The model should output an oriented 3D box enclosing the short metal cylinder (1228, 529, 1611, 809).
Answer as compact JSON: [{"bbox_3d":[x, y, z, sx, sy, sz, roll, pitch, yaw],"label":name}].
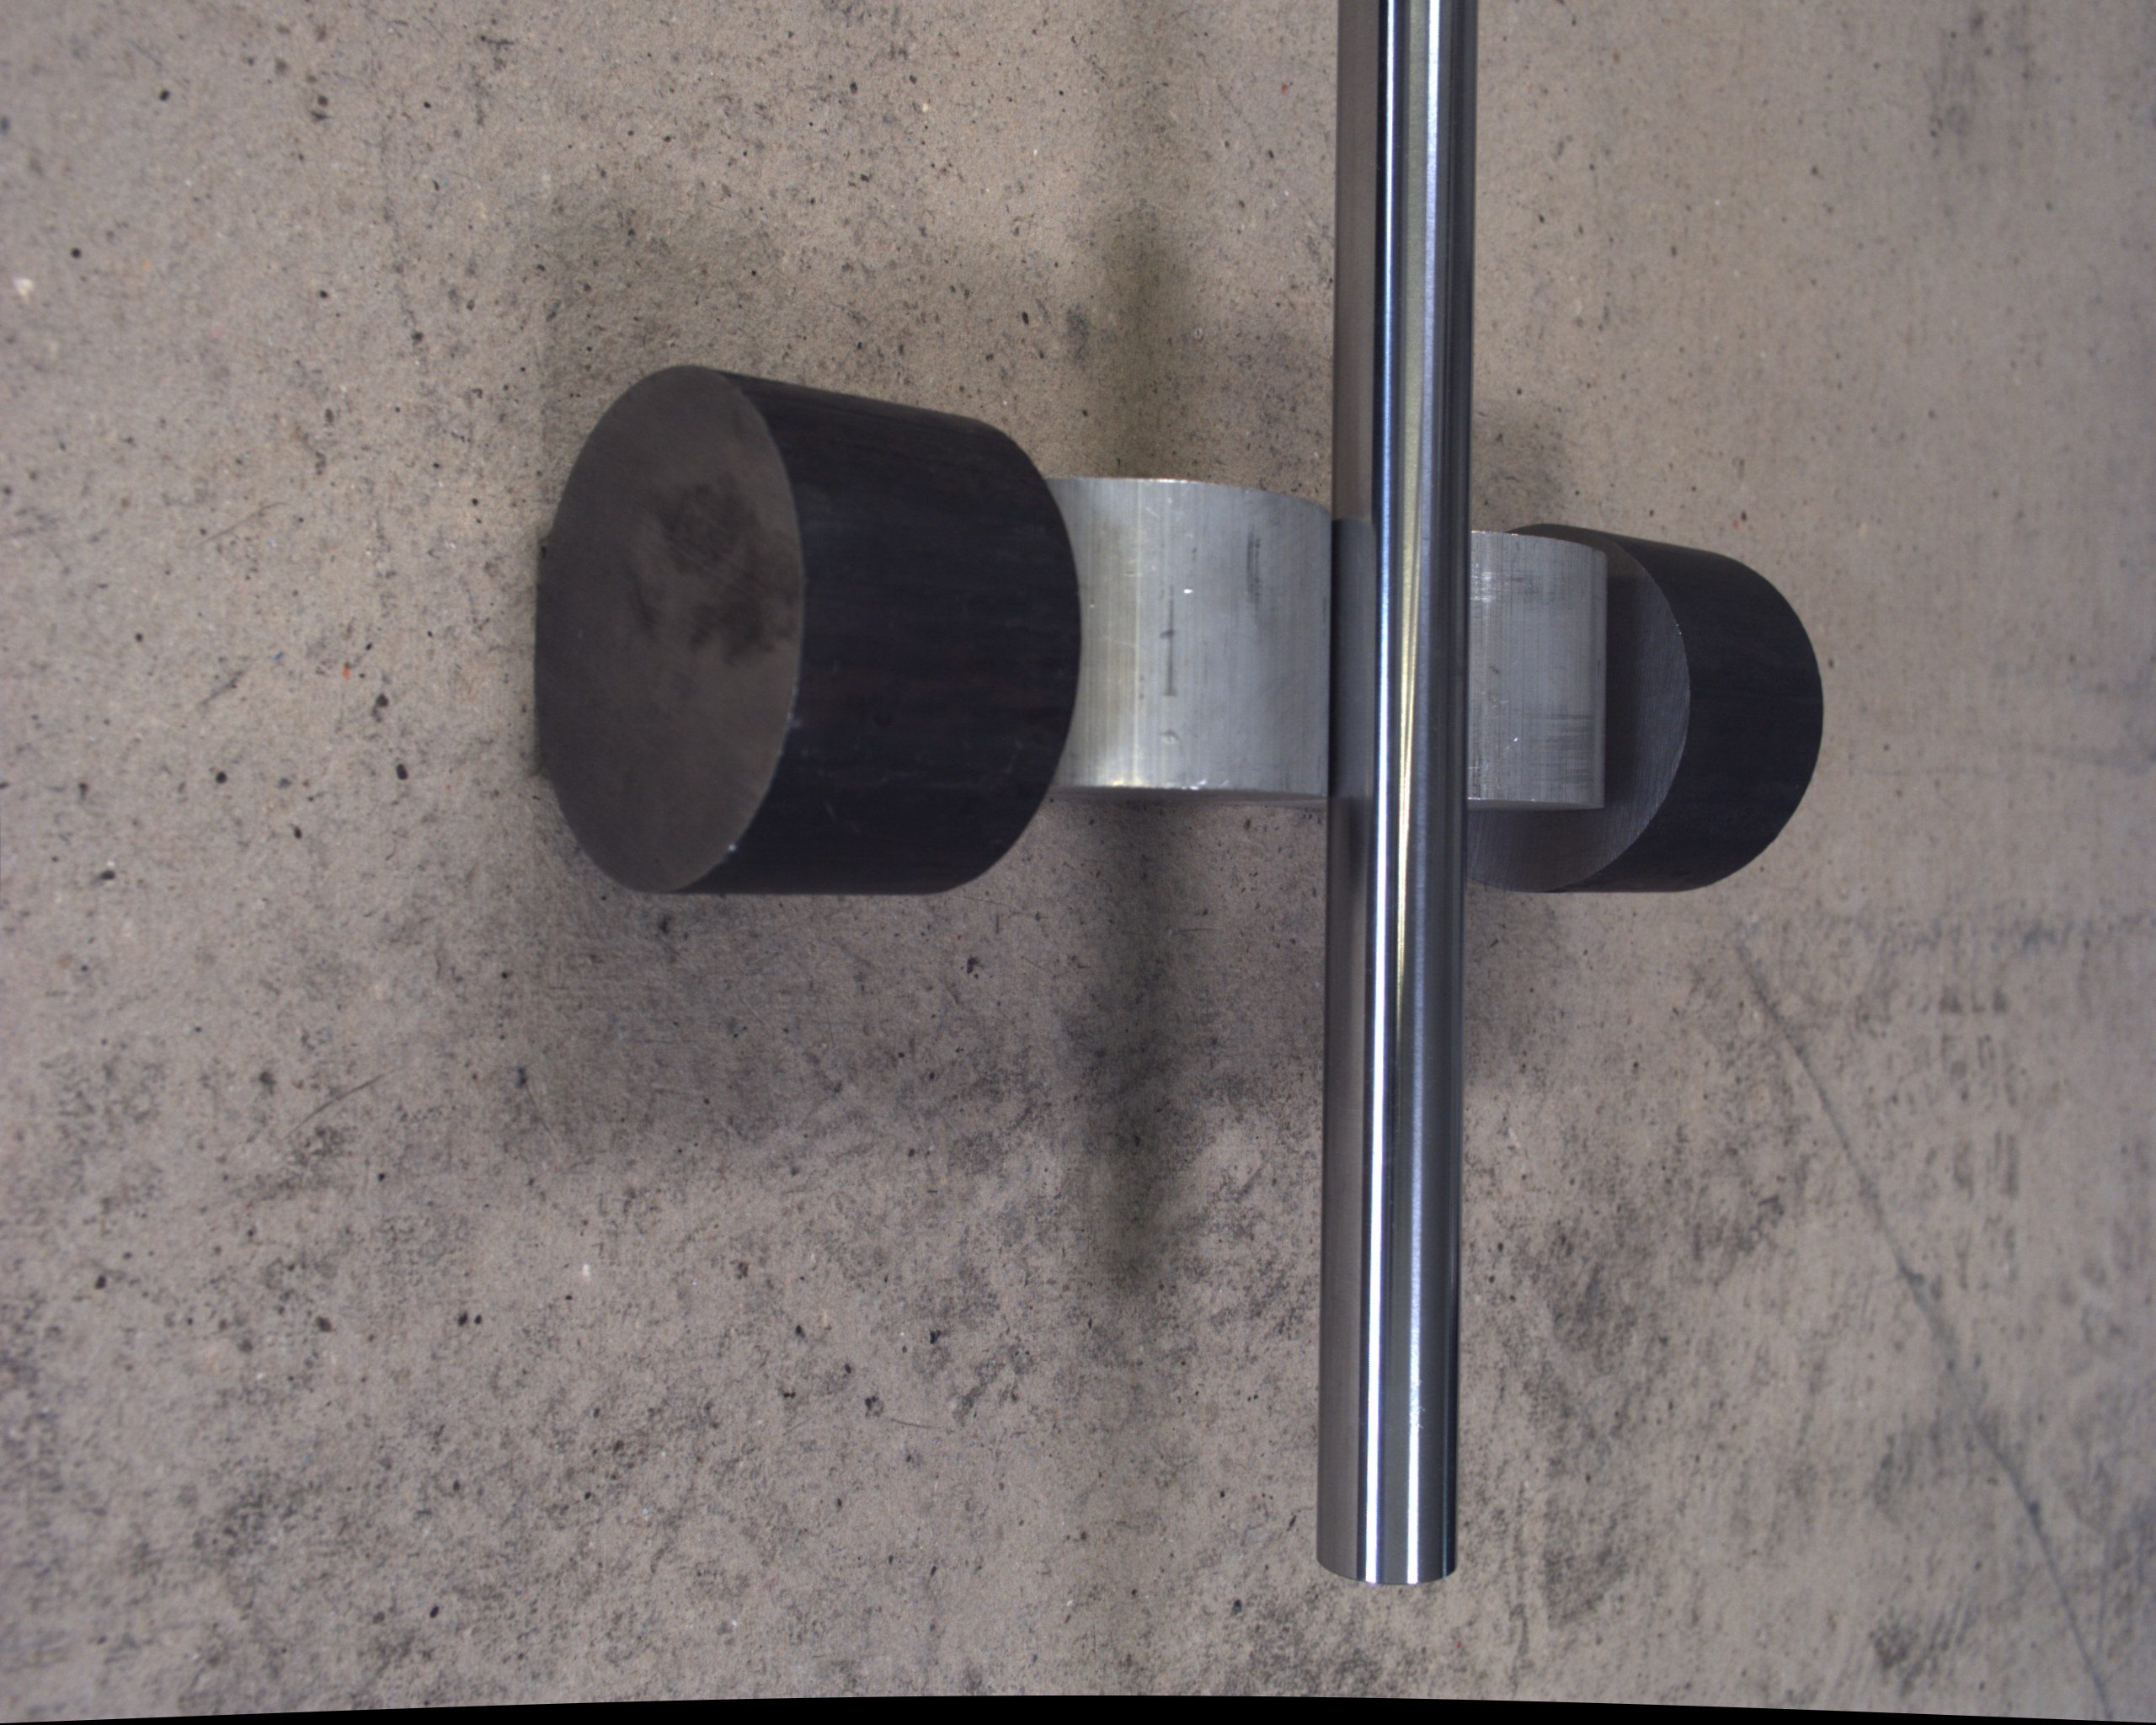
[{"bbox_3d":[0.067,-0.037,0.426,0.081,0.080,0.050,1,90,-40],"label":"short metal cylinder"}]

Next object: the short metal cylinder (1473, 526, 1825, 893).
[{"bbox_3d":[0.118,-0.033,0.469,0.050,0.080,0.080,1,90,-40],"label":"short metal cylinder"}]

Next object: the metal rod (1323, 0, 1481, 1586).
[{"bbox_3d":[0.058,-0.024,0.374,0.025,0.025,0.298,1,89,-40],"label":"metal rod"}]

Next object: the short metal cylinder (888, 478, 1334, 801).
[{"bbox_3d":[0.005,-0.037,0.375,0.081,0.080,0.050,1,90,-40],"label":"short metal cylinder"}]

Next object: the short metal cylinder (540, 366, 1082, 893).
[{"bbox_3d":[-0.044,-0.035,0.333,0.050,0.080,0.080,1,90,-40],"label":"short metal cylinder"}]
